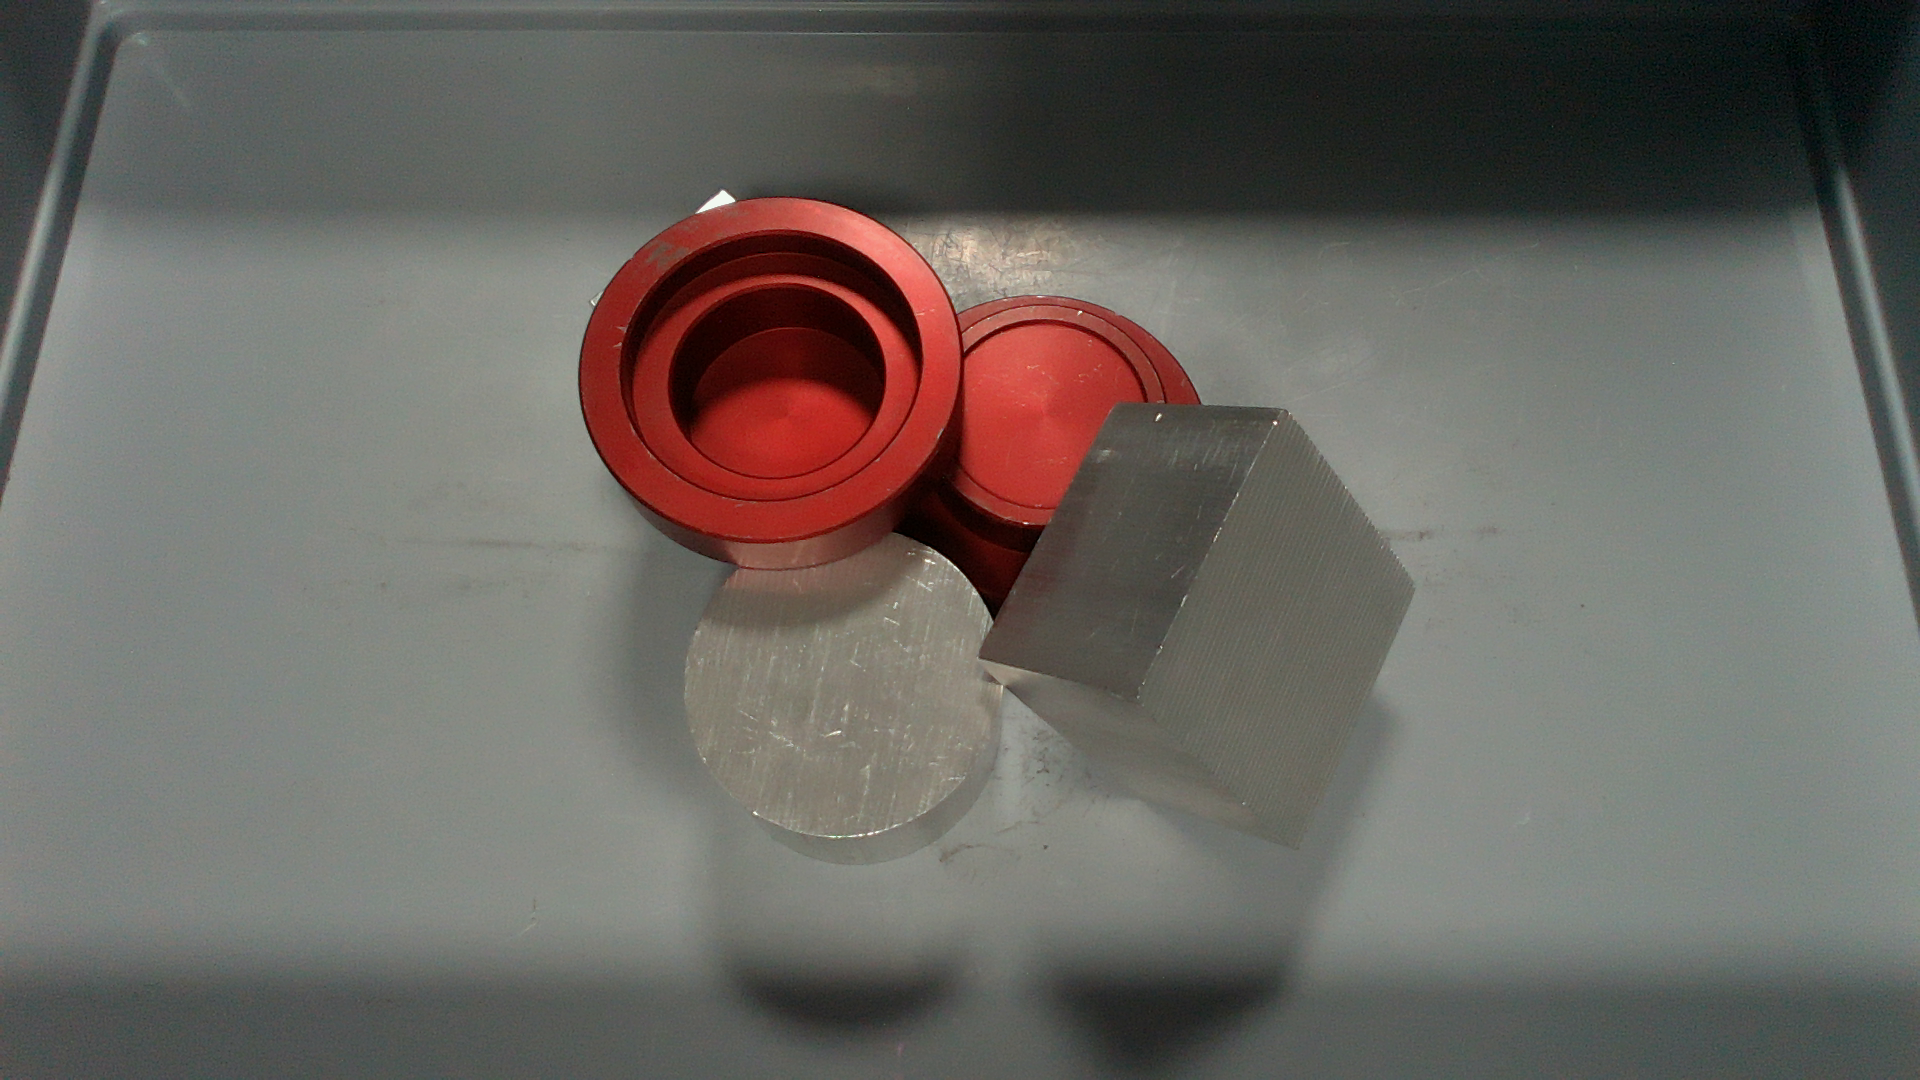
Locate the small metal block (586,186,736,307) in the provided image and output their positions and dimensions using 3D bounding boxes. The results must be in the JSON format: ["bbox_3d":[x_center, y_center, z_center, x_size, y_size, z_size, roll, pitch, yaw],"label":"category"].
[{"bbox_3d":[-0.076,-0.066,0.404,0.025,0.050,0.050,42,76,14],"label":"small metal block"}]

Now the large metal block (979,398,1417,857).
[{"bbox_3d":[0.063,0.021,0.349,0.050,0.080,0.080,9,62,47],"label":"large metal block"}]

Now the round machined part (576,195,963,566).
[{"bbox_3d":[-0.048,-0.039,0.367,0.098,0.042,0.098,0,70,0],"label":"round machined part"}]

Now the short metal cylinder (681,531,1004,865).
[{"bbox_3d":[-0.029,0.042,0.364,0.080,0.050,0.080,0,70,0],"label":"short metal cylinder"}]

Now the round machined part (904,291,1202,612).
[{"bbox_3d":[0.023,-0.029,0.393,0.098,0.042,0.098,0,70,0],"label":"round machined part"}]
